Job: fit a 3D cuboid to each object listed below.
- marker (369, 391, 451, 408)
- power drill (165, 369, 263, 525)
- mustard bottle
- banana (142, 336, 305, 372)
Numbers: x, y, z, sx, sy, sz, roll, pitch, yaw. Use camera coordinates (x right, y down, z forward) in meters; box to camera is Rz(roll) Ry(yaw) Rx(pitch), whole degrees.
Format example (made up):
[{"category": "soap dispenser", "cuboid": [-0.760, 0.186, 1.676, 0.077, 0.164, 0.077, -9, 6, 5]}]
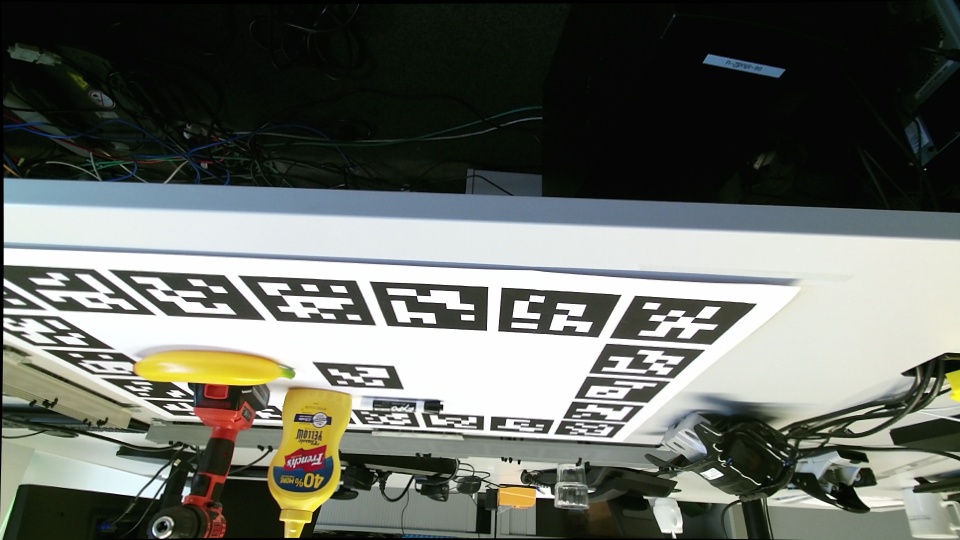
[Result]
[{"category": "marker", "cuboid": [-0.105, 0.195, 0.809, 0.121, 0.019, 0.020, 4, 146, -1]}, {"category": "power drill", "cuboid": [-0.341, 0.229, 0.694, 0.057, 0.186, 0.185, 12, 149, -9]}, {"category": "mustard bottle", "cuboid": [-0.235, 0.256, 0.756, 0.096, 0.190, 0.058, 10, 147, -8]}, {"category": "banana", "cuboid": [-0.325, 0.102, 0.672, 0.198, 0.038, 0.074, 6, 145, -7]}]
